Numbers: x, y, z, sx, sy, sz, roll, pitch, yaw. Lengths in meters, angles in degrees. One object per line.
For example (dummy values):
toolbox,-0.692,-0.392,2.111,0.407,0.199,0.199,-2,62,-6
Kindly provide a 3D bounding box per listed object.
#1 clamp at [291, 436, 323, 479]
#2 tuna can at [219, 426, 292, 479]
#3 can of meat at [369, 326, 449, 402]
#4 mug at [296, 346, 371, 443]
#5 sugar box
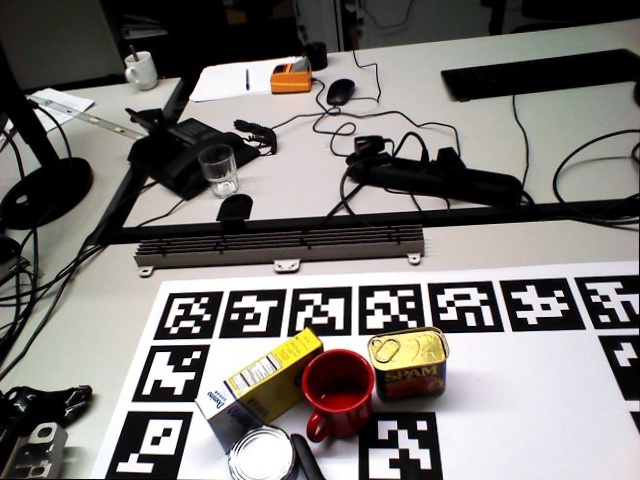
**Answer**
clamp,-0.003,0.314,0.590,0.166,0.037,0.121,26,51,29
tuna can,-0.078,0.277,0.638,0.086,0.034,0.085,-7,45,6
can of meat,0.119,0.166,0.684,0.102,0.084,0.057,-9,42,1
mug,0.017,0.202,0.657,0.094,0.082,0.116,15,51,25
sugar box,-0.074,0.201,0.684,0.176,0.093,0.045,-30,44,-20
